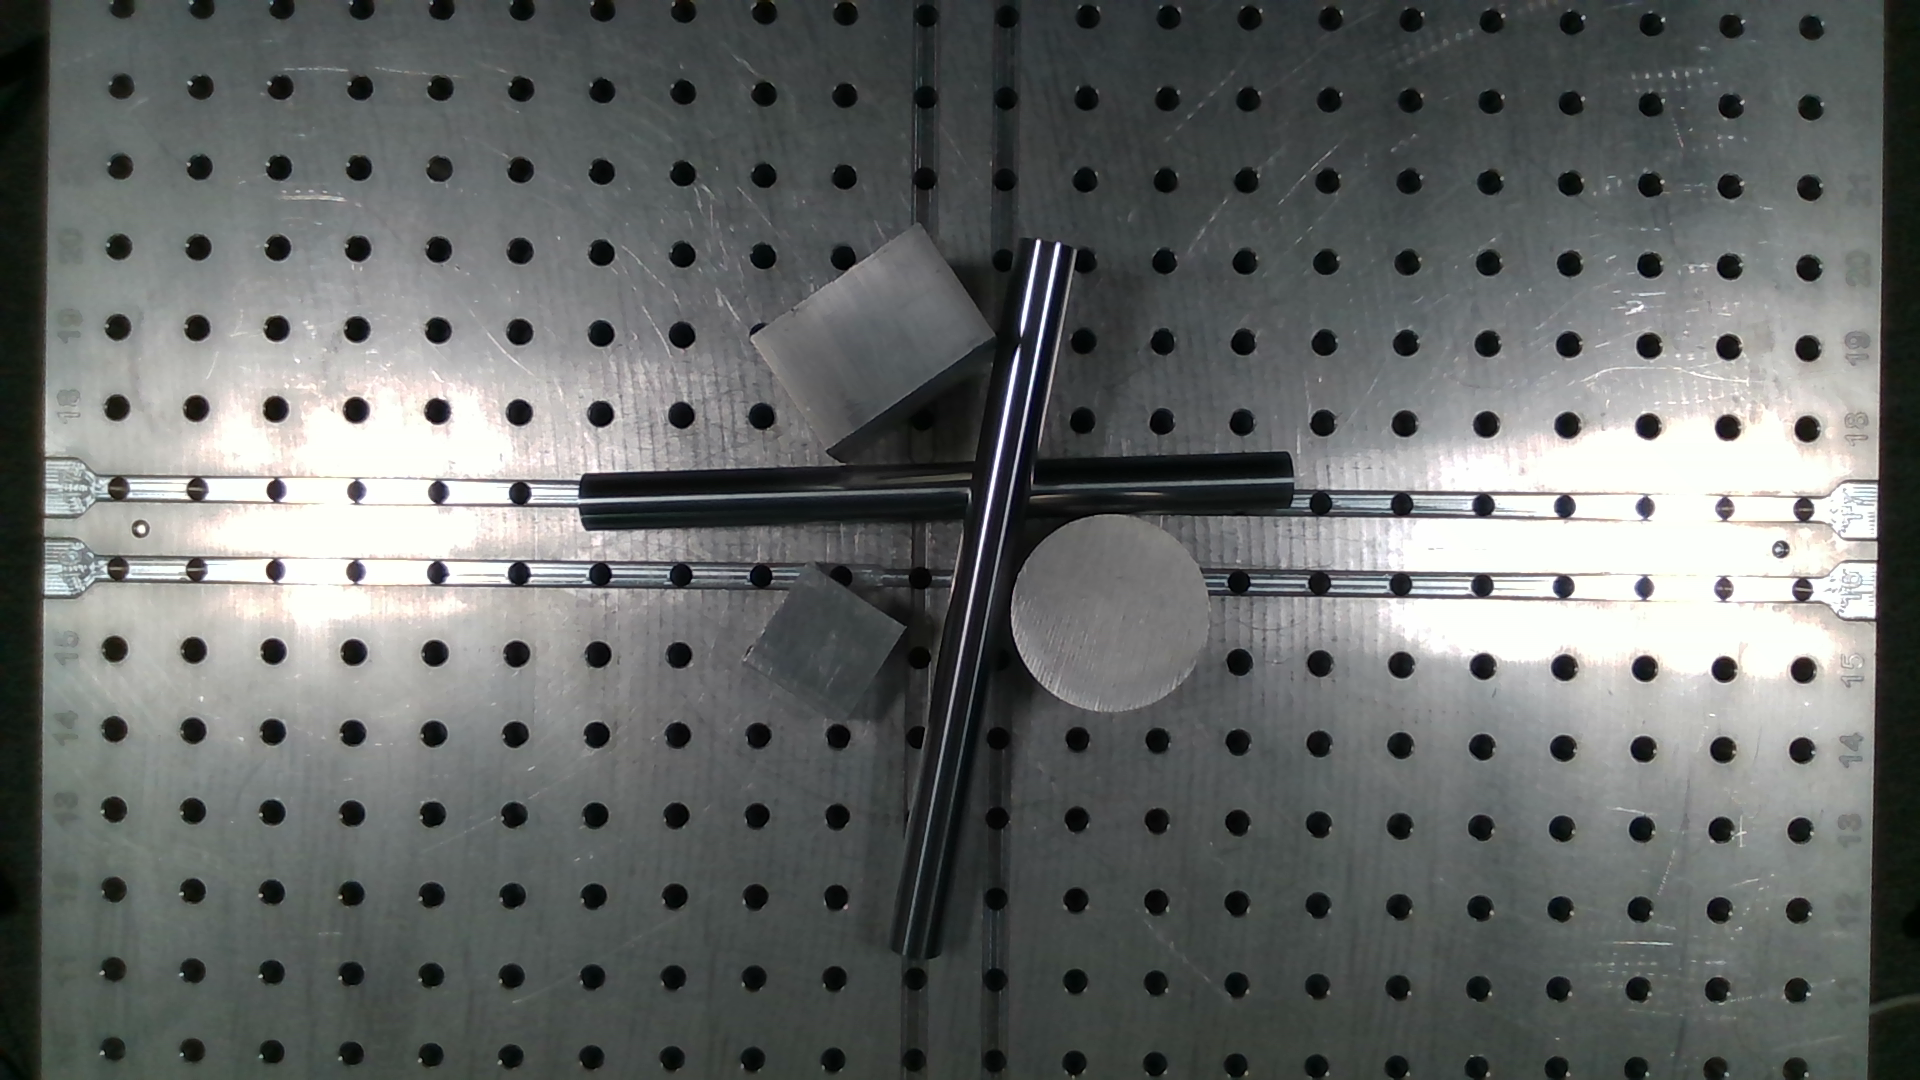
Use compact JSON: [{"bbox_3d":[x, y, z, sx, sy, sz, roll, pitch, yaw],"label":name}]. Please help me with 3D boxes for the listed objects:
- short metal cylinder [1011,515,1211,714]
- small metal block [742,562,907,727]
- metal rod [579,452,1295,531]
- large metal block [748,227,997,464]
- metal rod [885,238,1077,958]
[{"bbox_3d":[0.060,0.030,0.577,0.080,0.050,0.080,0,90,0],"label":"short metal cylinder"},{"bbox_3d":[-0.057,0.044,0.590,0.050,0.025,0.050,33,90,0],"label":"small metal block"},{"bbox_3d":[-0.010,-0.021,0.589,0.300,0.025,0.025,-2,90,0],"label":"metal rod"},{"bbox_3d":[-0.033,-0.075,0.560,0.080,0.080,0.050,-35,90,0],"label":"large metal block"},{"bbox_3d":[0.007,0.028,0.571,0.025,0.025,0.300,11,98,0],"label":"metal rod"}]
